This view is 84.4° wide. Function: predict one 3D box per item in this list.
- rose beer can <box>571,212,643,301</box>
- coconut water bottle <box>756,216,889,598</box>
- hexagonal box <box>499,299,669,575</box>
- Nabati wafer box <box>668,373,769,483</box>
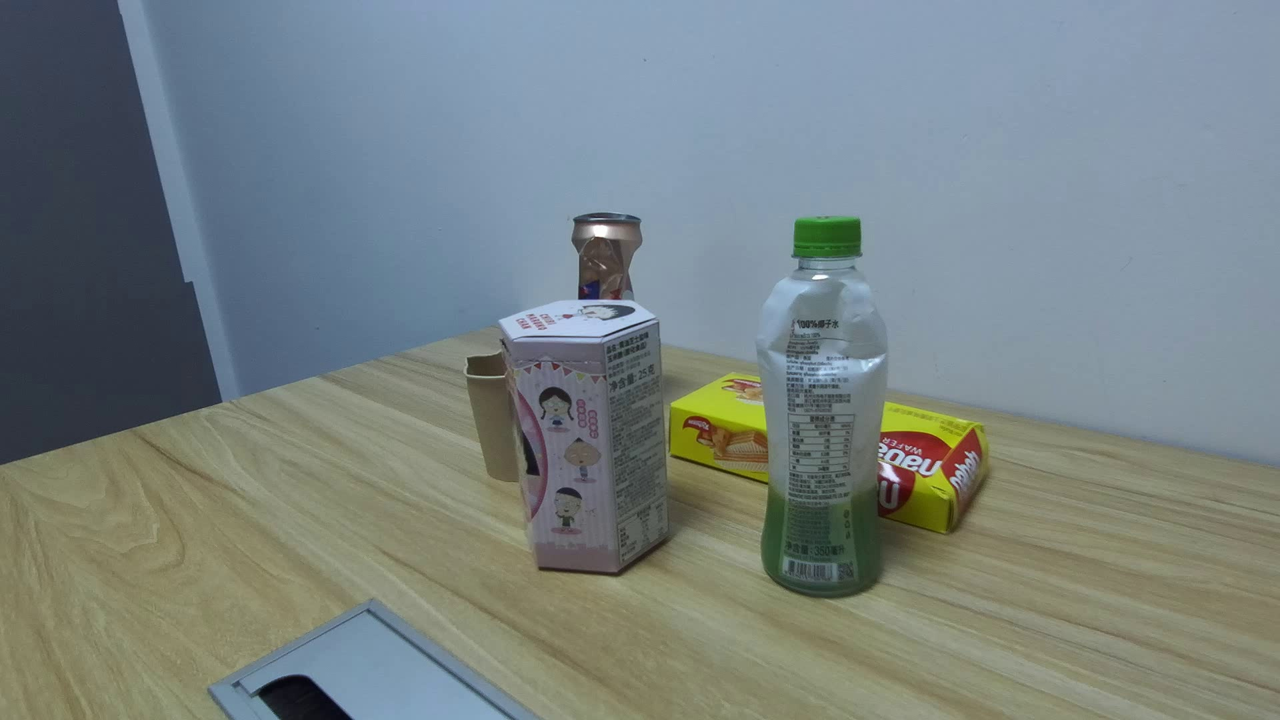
[{"bbox_3d":[-0.023,-0.037,0.596,0.065,0.167,0.076,5,16,16],"label":"rose beer can"},{"bbox_3d":[0.094,0.023,0.356,0.067,0.187,0.067,-3,17,1],"label":"coconut water bottle"},{"bbox_3d":[-0.030,0.041,0.402,0.084,0.136,0.091,-8,19,-17],"label":"hexagonal box"},{"bbox_3d":[0.129,0.055,0.492,0.202,0.042,0.097,13,21,36],"label":"Nabati wafer box"}]
